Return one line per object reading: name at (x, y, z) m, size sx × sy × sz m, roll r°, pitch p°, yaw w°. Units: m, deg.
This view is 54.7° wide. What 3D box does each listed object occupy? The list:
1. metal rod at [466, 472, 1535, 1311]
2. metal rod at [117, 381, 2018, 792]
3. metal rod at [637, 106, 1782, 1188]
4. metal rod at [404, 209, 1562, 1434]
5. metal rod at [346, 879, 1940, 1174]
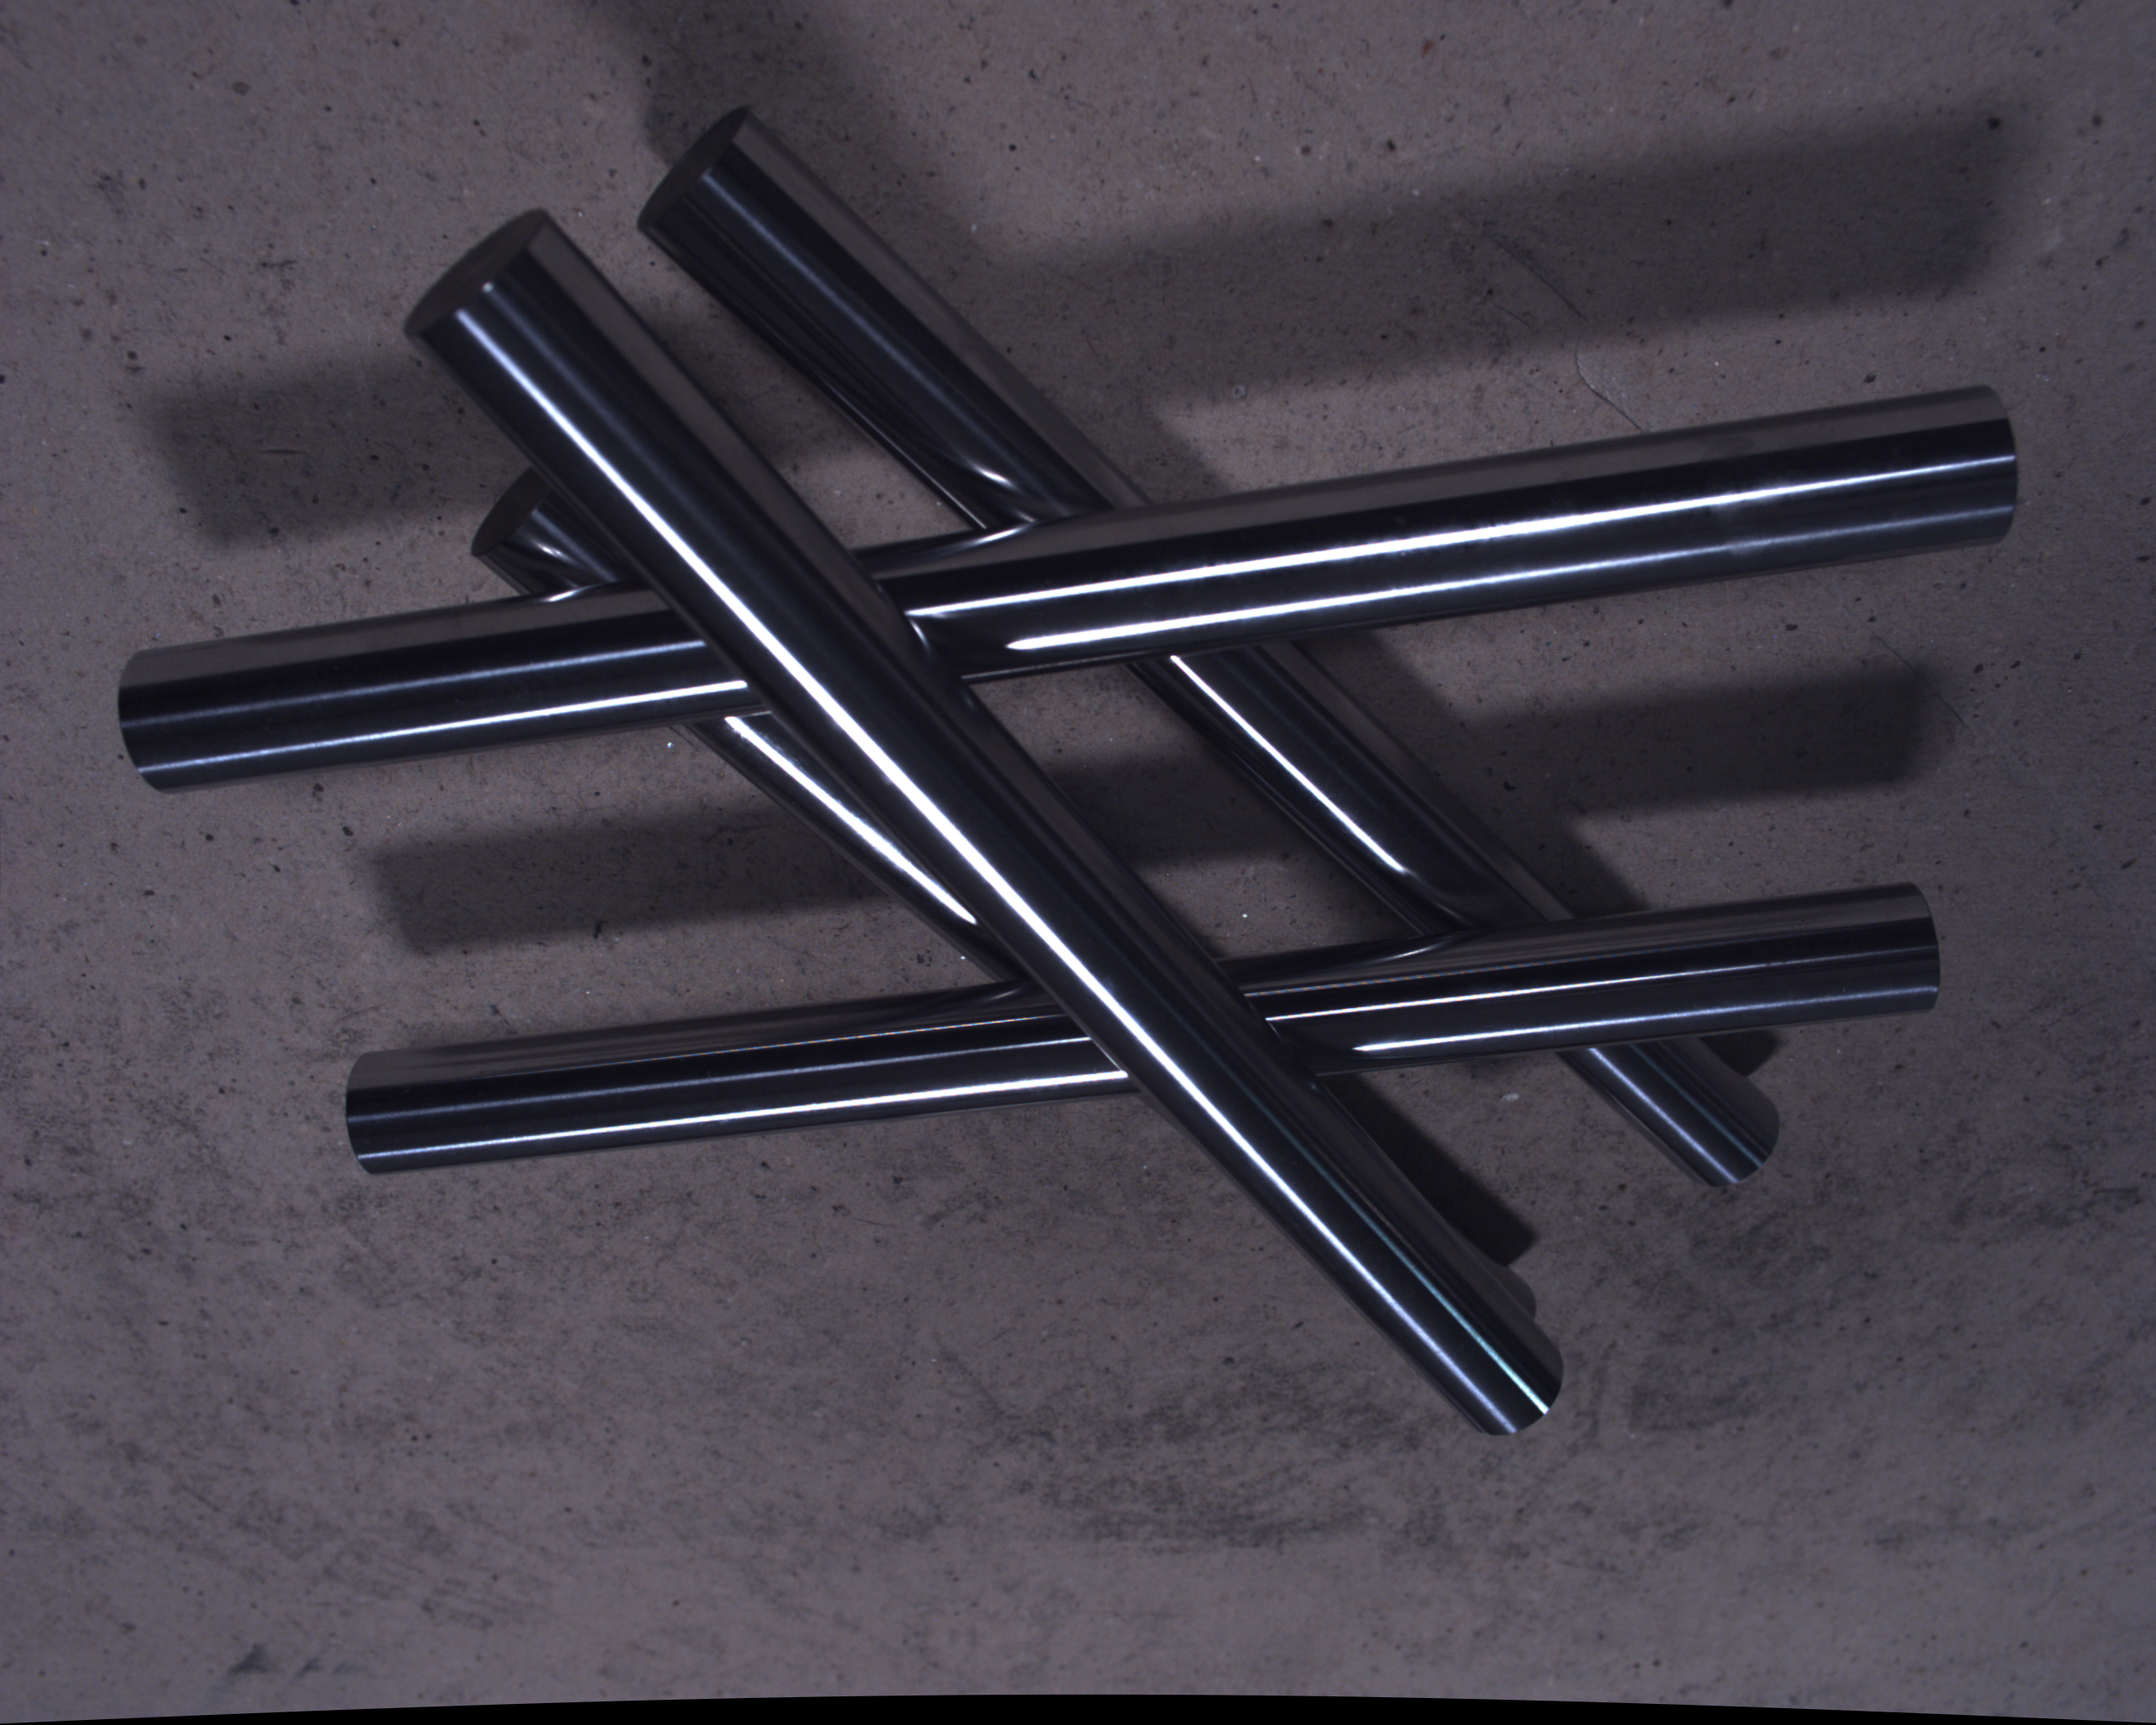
metal rod at (0.002, 0.026, 0.430) m, size 0.025 × 0.025 × 0.300 m, roll -33°, pitch 123°, yaw 25°
metal rod at (-0.007, -0.043, 0.339) m, size 0.302 × 0.025 × 0.025 m, roll -7°, pitch 130°, yaw 5°
metal rod at (0.043, -0.022, 0.390) m, size 0.025 × 0.025 × 0.301 m, roll -35°, pitch 122°, yaw 26°
metal rod at (0.005, 0.015, 0.357) m, size 0.025 × 0.025 × 0.300 m, roll -28°, pitch 126°, yaw 21°
metal rod at (0.009, 0.033, 0.404) m, size 0.302 × 0.025 × 0.025 m, roll -7°, pitch 130°, yaw 5°
